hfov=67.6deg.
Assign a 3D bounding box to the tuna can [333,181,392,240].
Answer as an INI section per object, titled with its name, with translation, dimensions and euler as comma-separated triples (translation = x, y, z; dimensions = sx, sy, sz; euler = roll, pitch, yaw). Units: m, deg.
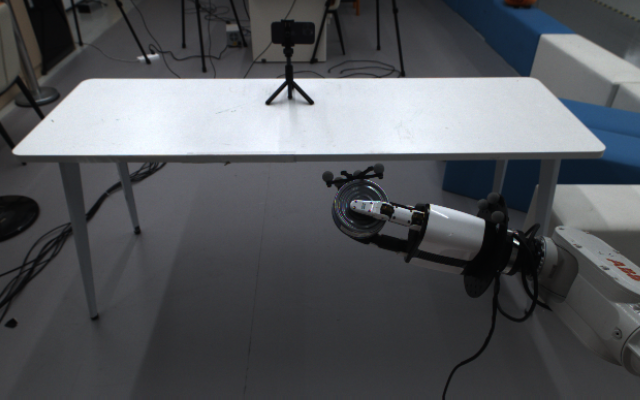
[tuna can]
translation = 0.065, 0.019, 0.723
dimensions = 0.085, 0.034, 0.085
euler = 0, 72, -1
